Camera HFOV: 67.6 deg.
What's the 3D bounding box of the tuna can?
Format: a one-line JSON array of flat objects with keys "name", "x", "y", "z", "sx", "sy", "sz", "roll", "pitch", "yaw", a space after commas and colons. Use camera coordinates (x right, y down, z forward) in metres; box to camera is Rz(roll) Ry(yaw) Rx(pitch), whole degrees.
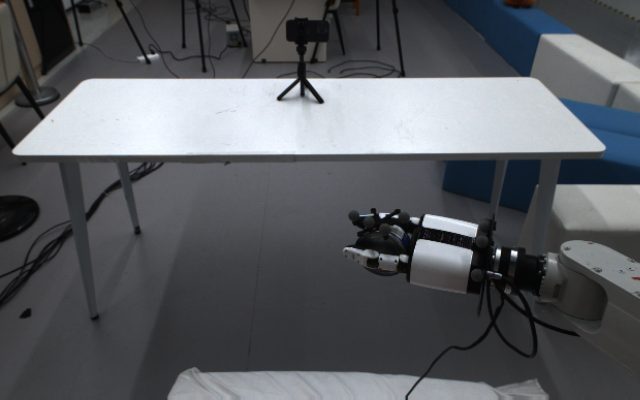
[{"name": "tuna can", "x": 0.102, "y": 0.081, "z": 0.757, "sx": 0.085, "sy": 0.085, "sz": 0.034, "roll": 15, "pitch": 33, "yaw": 18}]
